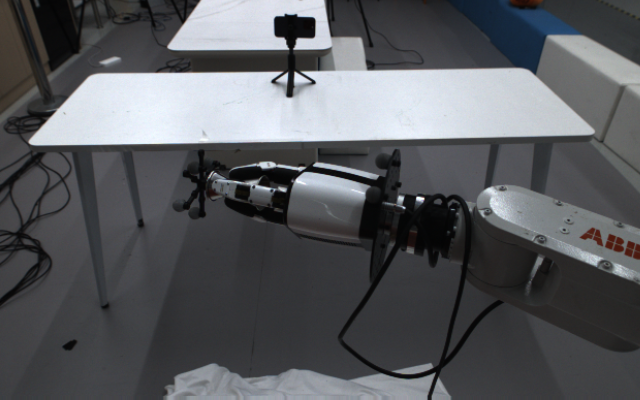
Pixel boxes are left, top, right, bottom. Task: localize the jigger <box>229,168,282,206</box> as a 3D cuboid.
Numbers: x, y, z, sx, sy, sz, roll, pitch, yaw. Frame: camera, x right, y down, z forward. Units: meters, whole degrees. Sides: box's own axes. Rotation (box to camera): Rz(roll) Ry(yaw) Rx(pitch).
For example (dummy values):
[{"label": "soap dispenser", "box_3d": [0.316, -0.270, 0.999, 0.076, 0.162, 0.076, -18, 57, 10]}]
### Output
[{"label": "jigger", "box_3d": [-0.095, -0.017, 0.598, 0.071, 0.043, 0.043, 8, 35, 16]}]
